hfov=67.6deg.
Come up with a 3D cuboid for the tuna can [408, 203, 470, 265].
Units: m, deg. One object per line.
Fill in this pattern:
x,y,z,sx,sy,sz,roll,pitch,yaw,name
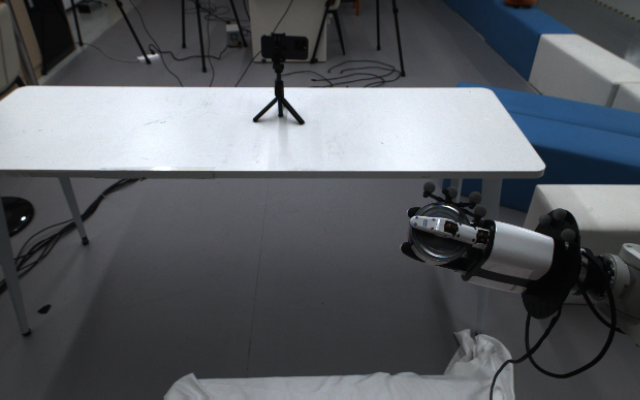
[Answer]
0.170,0.044,0.688,0.085,0.034,0.085,0,71,0,tuna can
